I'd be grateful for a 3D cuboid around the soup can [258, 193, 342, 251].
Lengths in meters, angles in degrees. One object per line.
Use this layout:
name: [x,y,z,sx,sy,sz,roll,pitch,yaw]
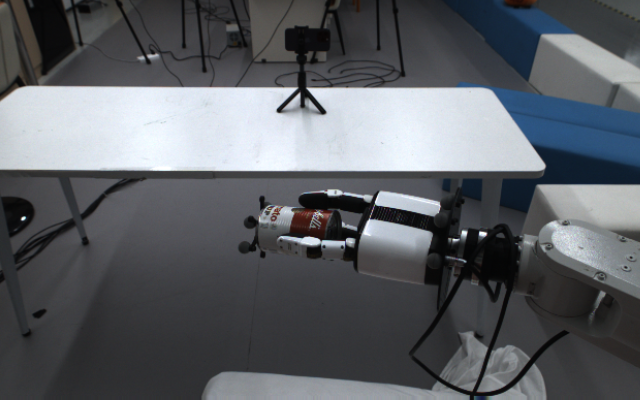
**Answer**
soup can: [-0.025,0.044,0.659,0.101,0.067,0.067,5,34,18]
